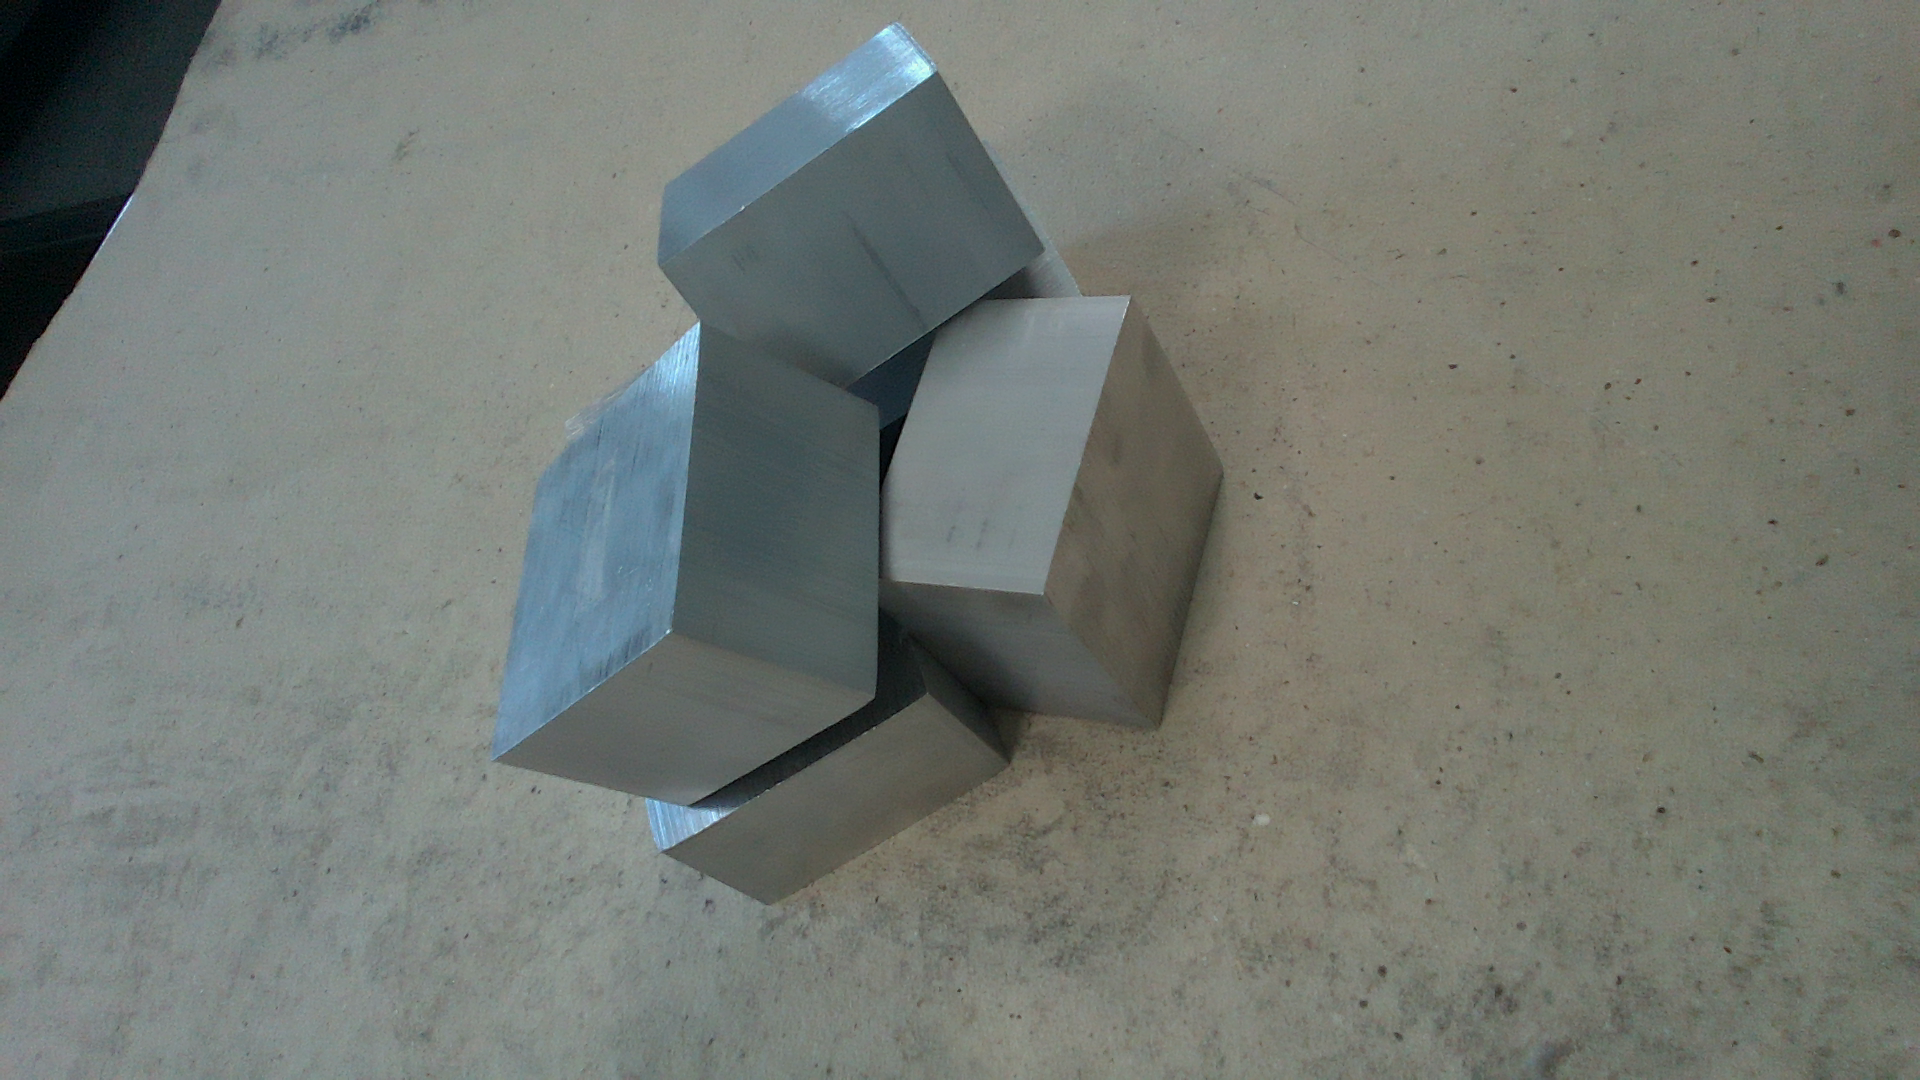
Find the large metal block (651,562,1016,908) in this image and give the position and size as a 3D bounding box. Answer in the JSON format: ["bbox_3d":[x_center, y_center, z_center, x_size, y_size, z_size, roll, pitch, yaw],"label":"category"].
[{"bbox_3d":[-0.042,0.040,0.378,0.080,0.050,0.080,-31,51,8],"label":"large metal block"}]

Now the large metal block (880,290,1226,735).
[{"bbox_3d":[0.024,-0.006,0.349,0.050,0.080,0.080,3,63,30],"label":"large metal block"}]

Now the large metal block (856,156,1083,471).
[{"bbox_3d":[-0.002,-0.061,0.414,0.080,0.050,0.080,-31,51,7],"label":"large metal block"}]

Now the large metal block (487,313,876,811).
[{"bbox_3d":[-0.064,0.008,0.323,0.080,0.050,0.080,-33,47,39],"label":"large metal block"}]

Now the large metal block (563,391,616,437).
[{"bbox_3d":[-0.069,-0.017,0.427,0.080,0.050,0.080,-31,52,8],"label":"large metal block"}]

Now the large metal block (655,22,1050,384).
[{"bbox_3d":[-0.031,-0.086,0.362,0.080,0.050,0.080,-32,28,7],"label":"large metal block"}]
